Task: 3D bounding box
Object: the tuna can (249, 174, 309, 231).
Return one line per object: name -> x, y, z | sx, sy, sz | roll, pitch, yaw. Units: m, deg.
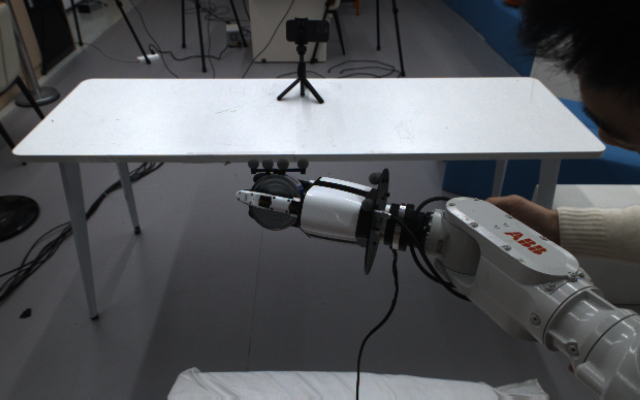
tuna can -> -0.063, 0.003, 0.743 | 0.085, 0.085, 0.034 | 12, 8, 14
